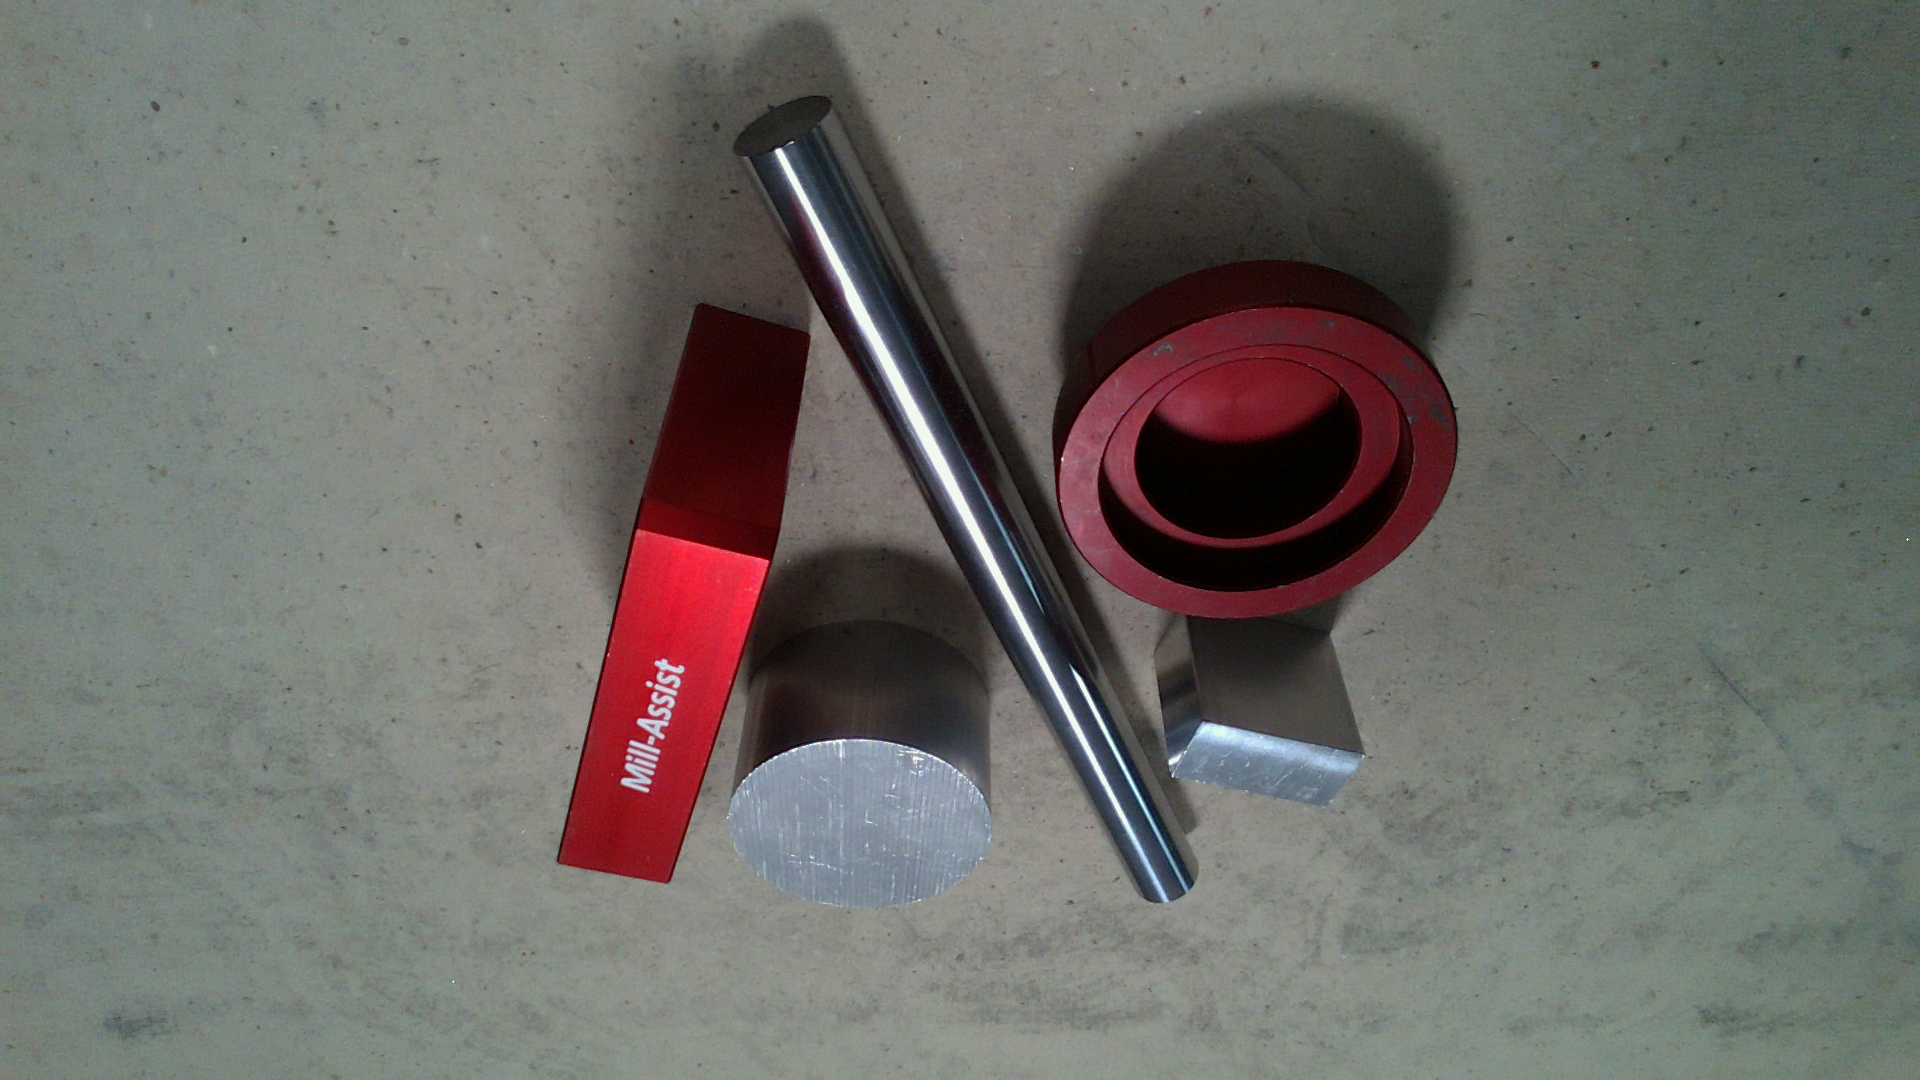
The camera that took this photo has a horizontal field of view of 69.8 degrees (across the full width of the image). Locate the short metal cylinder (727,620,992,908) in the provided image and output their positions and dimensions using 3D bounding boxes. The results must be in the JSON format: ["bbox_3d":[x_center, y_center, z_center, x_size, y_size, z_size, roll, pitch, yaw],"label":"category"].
[{"bbox_3d":[-0.030,0.071,0.434,0.080,0.050,0.080,0,130,0],"label":"short metal cylinder"}]

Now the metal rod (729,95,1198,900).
[{"bbox_3d":[0.016,0.012,0.402,0.025,0.025,0.301,-17,128,14],"label":"metal rod"}]

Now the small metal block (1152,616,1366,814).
[{"bbox_3d":[0.088,0.050,0.414,0.050,0.050,0.025,13,129,-11],"label":"small metal block"}]

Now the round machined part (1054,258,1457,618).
[{"bbox_3d":[0.073,-0.029,0.355,0.098,0.042,0.098,0,130,0],"label":"round machined part"}]

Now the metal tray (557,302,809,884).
[{"bbox_3d":[-0.073,0.016,0.361,0.030,0.090,0.130,14,129,-11],"label":"metal tray"}]
